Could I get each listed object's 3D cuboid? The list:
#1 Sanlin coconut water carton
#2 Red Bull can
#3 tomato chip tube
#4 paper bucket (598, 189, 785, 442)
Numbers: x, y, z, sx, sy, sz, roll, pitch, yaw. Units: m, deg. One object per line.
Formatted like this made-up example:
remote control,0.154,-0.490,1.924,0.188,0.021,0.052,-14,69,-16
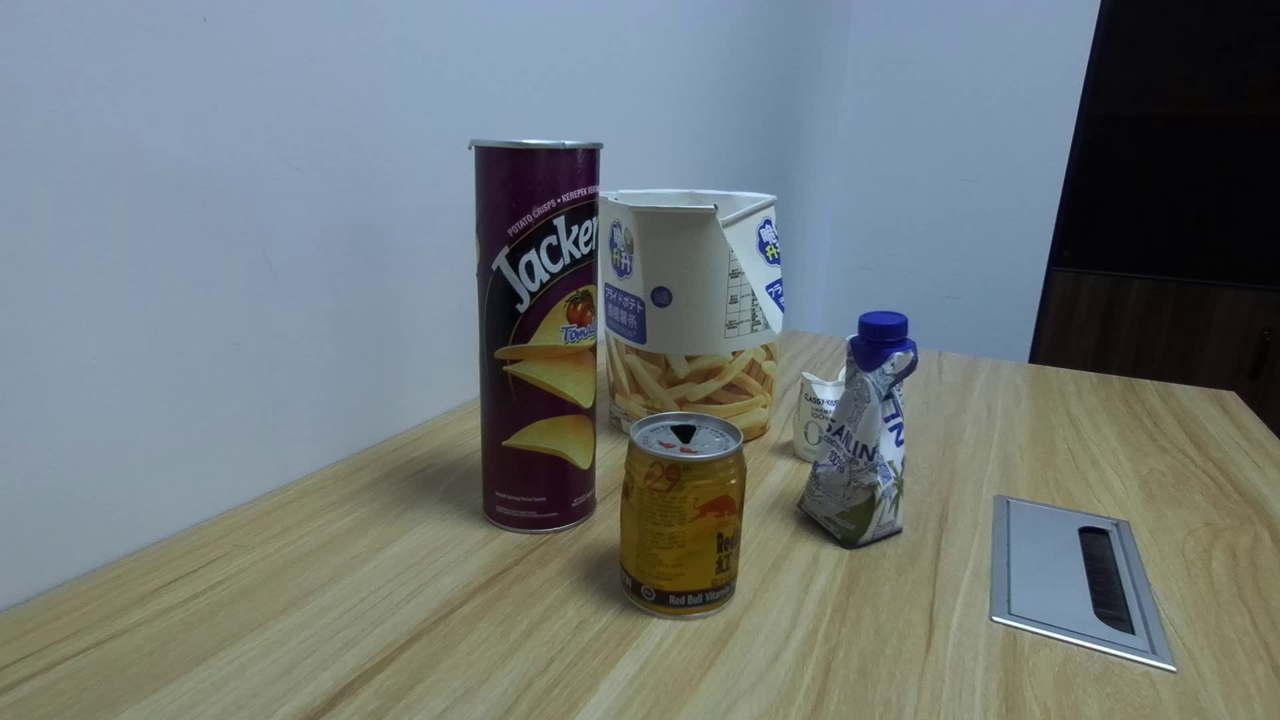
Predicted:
Sanlin coconut water carton,0.152,0.043,0.444,0.069,0.144,0.056,1,21,-32
Red Bull can,0.023,0.081,0.380,0.068,0.093,0.068,2,17,0
tomato chip tube,-0.062,-0.014,0.447,0.080,0.234,0.076,-7,17,-27
paper bucket,0.048,-0.039,0.602,0.169,0.202,0.162,-2,19,-3
